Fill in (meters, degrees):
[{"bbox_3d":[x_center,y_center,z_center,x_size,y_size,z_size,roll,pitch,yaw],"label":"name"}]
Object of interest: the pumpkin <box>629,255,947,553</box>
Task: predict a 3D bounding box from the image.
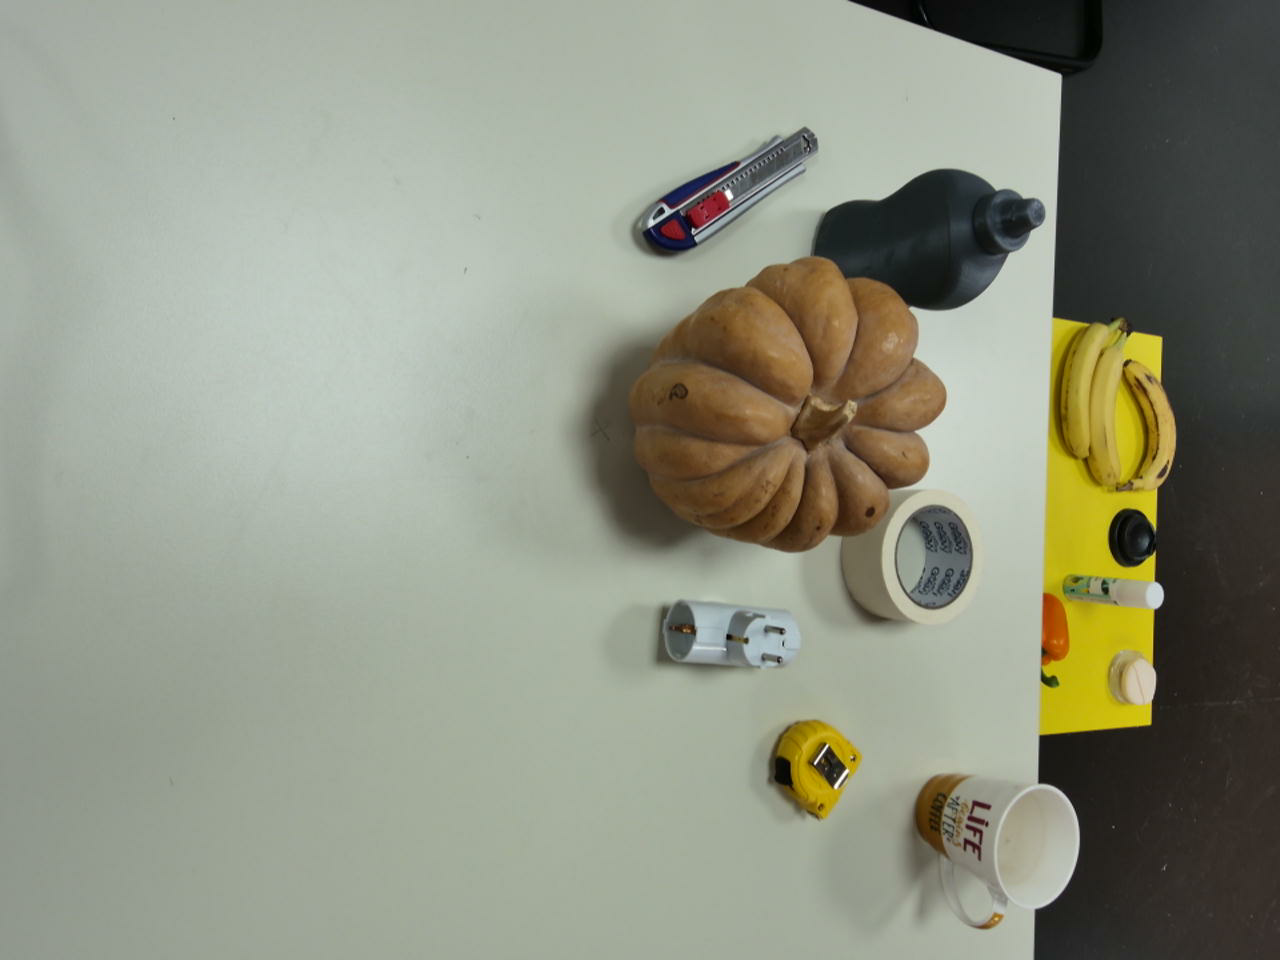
[{"bbox_3d":[0.090,-0.046,0.663,0.198,0.177,0.198,0,90,-28],"label":"pumpkin"}]
